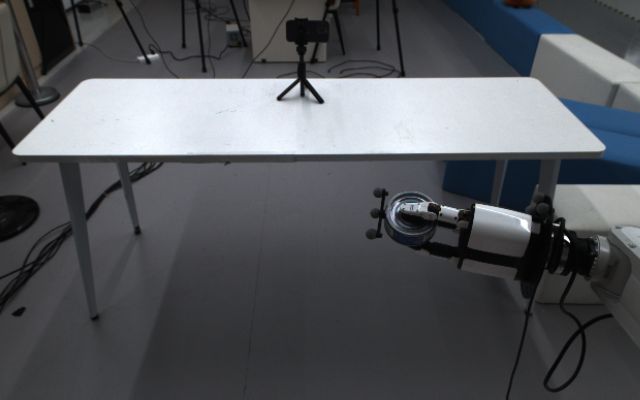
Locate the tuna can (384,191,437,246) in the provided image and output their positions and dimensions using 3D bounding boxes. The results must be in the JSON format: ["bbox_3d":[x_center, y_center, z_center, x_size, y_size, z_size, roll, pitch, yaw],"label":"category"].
[{"bbox_3d":[0.149,0.031,0.773,0.085,0.034,0.085,-2,57,3],"label":"tuna can"}]
